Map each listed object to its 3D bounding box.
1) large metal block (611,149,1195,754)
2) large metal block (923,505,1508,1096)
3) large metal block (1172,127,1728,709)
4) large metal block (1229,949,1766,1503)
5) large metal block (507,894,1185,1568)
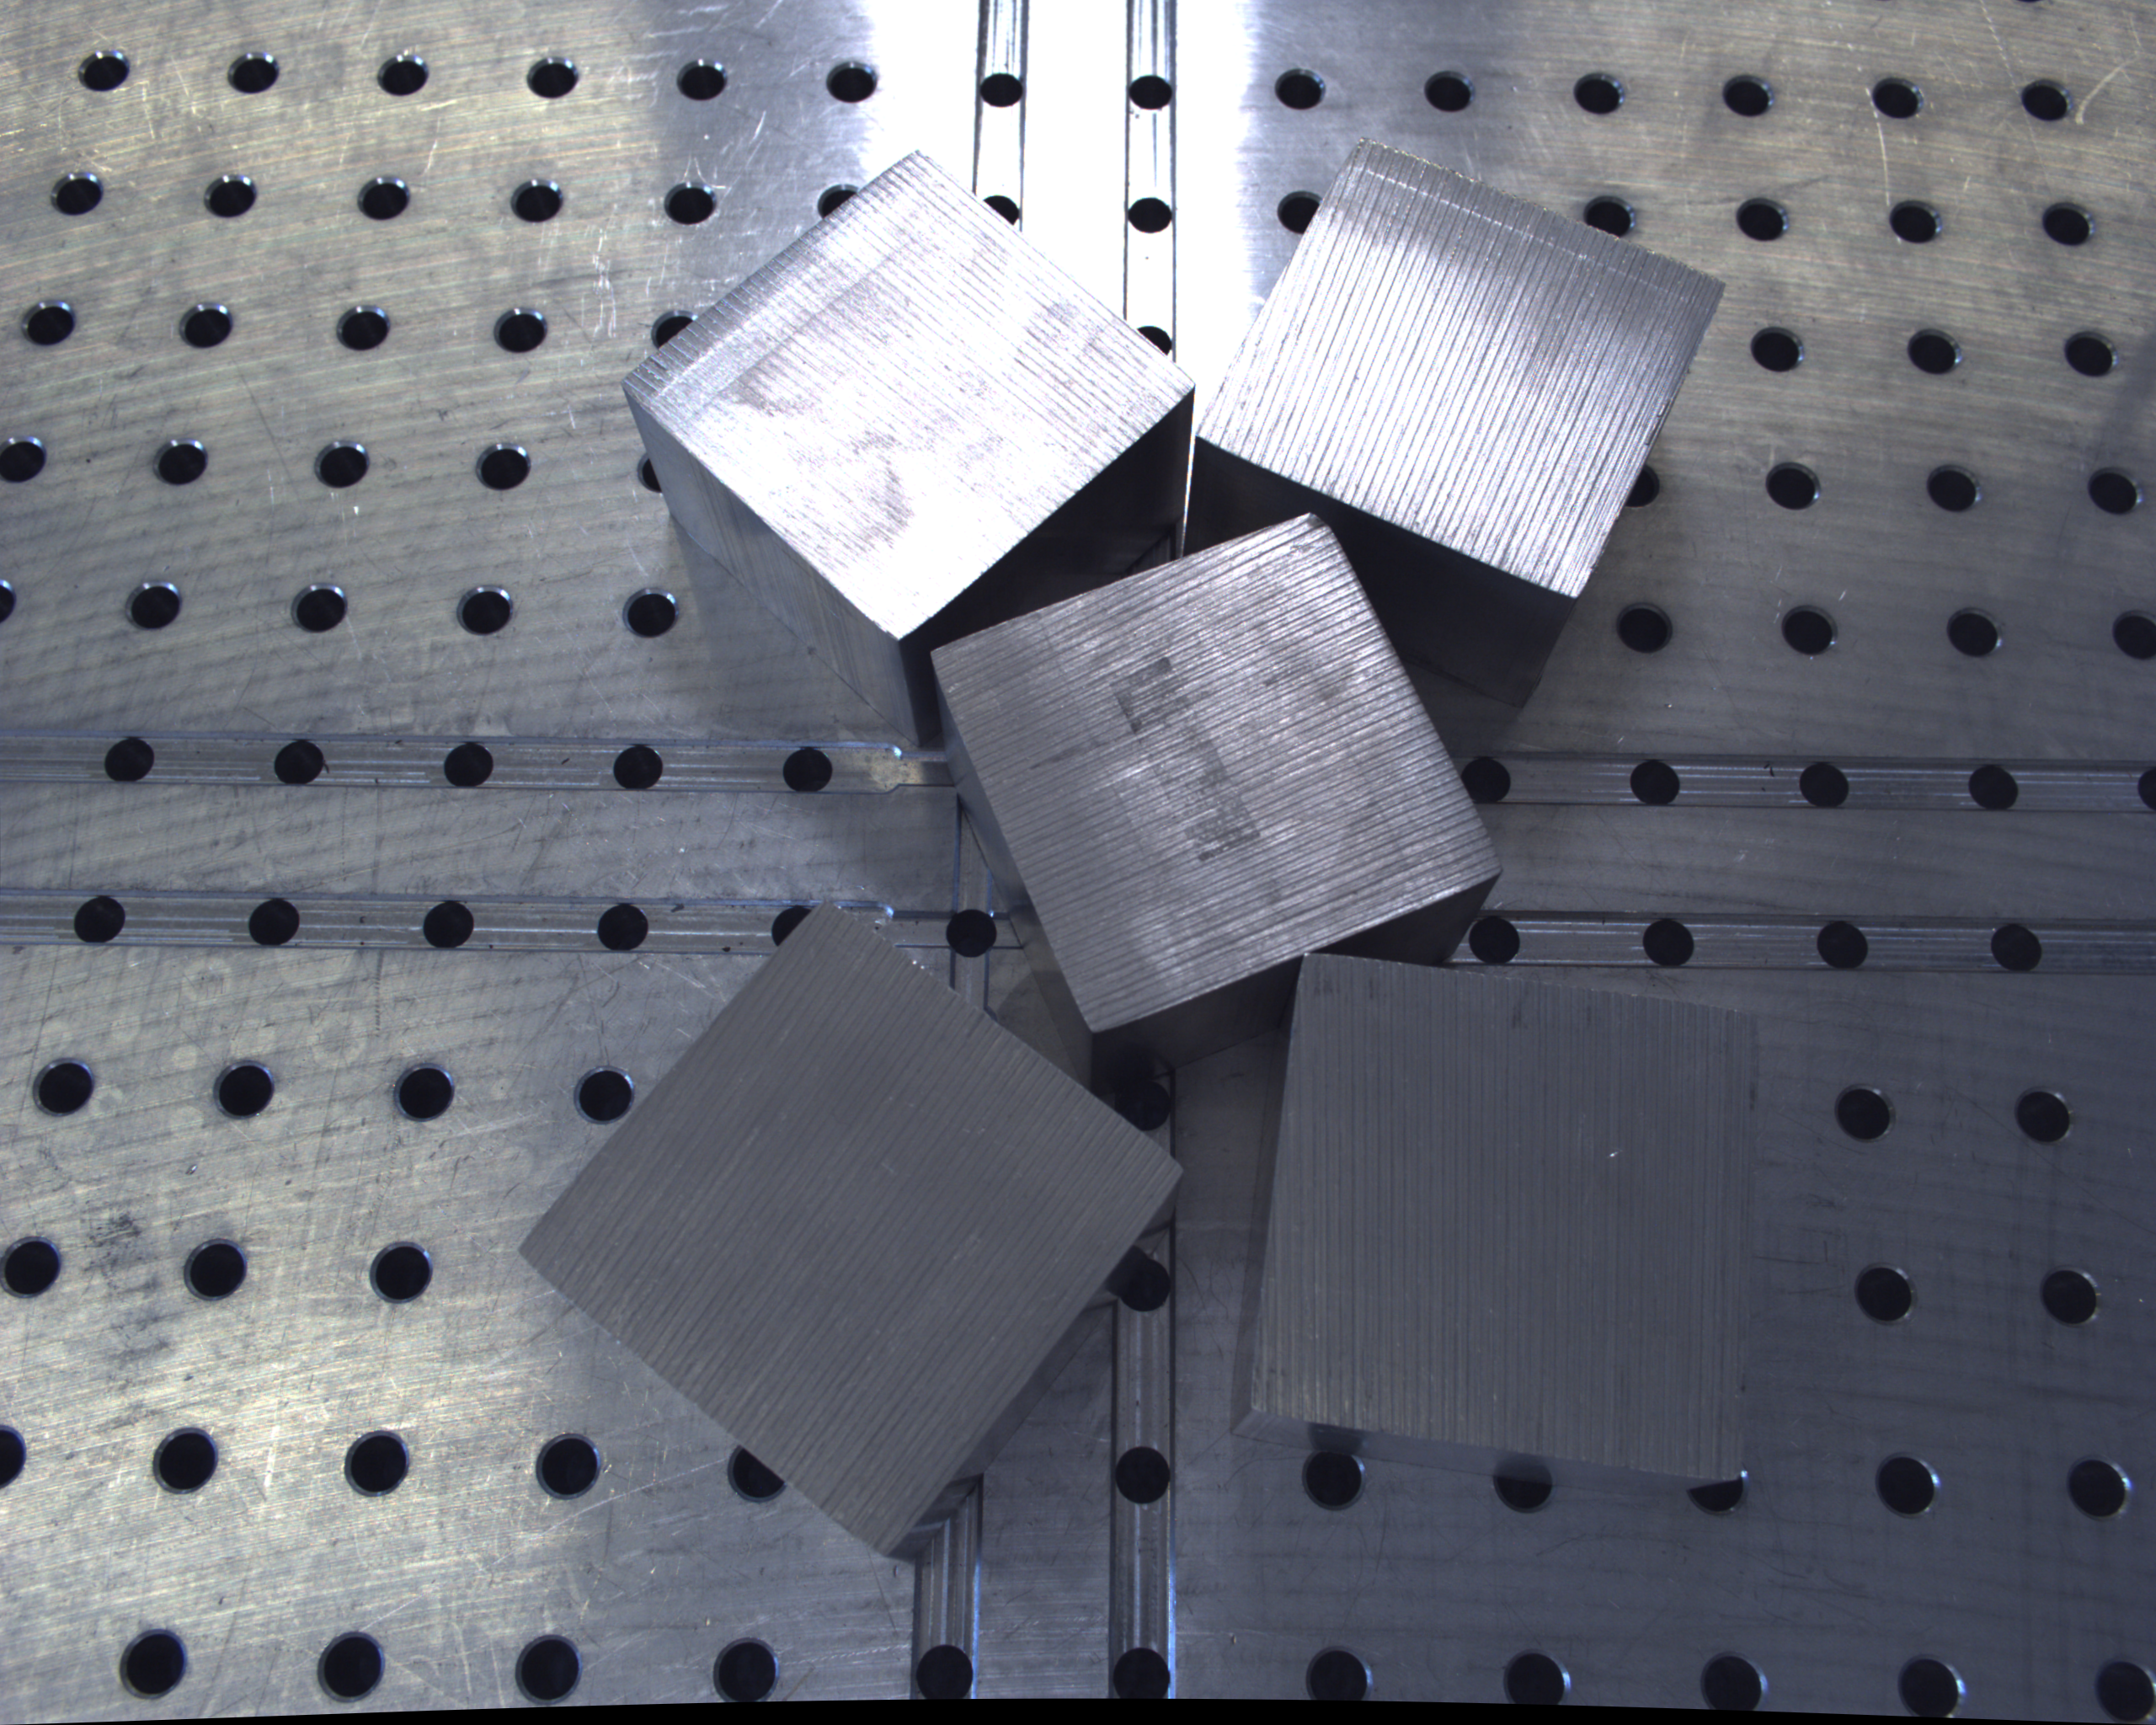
[{"bbox_3d":[-0.034,-0.084,0.429,0.080,0.050,0.080,-42,75,-13],"label":"large metal block"},{"bbox_3d":[0.024,-0.010,0.402,0.080,0.050,0.080,-21,72,-8],"label":"large metal block"},{"bbox_3d":[0.075,-0.091,0.431,0.080,0.050,0.080,25,72,6],"label":"large metal block"},{"bbox_3d":[0.073,0.067,0.374,0.080,0.050,0.080,9,70,2],"label":"large metal block"},{"bbox_3d":[-0.038,0.067,0.372,0.080,0.050,0.080,36,74,12],"label":"large metal block"}]
